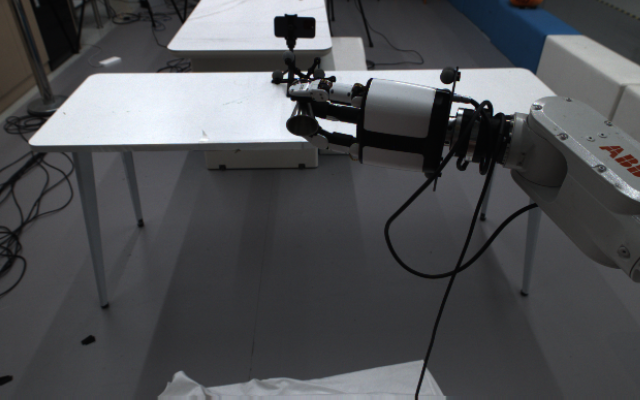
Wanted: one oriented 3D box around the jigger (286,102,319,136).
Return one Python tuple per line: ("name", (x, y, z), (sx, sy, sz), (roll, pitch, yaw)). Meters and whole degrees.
("jigger", (-0.023, -0.131, 0.661), (0.043, 0.043, 0.071), (2, 59, -1))
